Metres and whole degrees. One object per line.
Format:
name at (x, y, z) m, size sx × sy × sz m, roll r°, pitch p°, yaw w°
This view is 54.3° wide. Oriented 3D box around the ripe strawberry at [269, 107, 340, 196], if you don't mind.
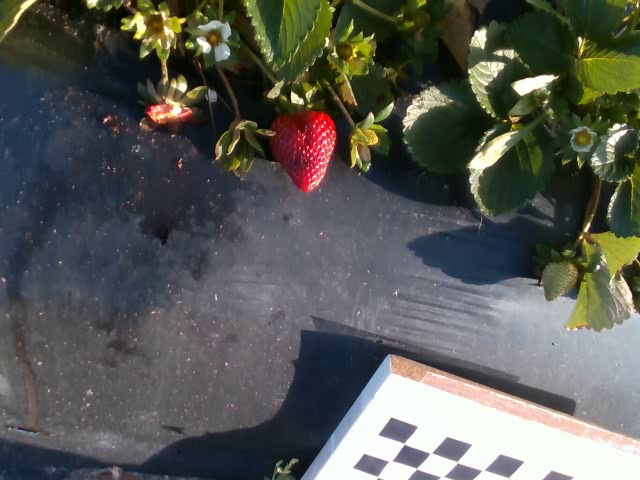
ripe strawberry at (-0.010, -0.053, 0.385) m, size 0.052 × 0.052 × 0.041 m, roll -5°, pitch -24°, yaw 5°
